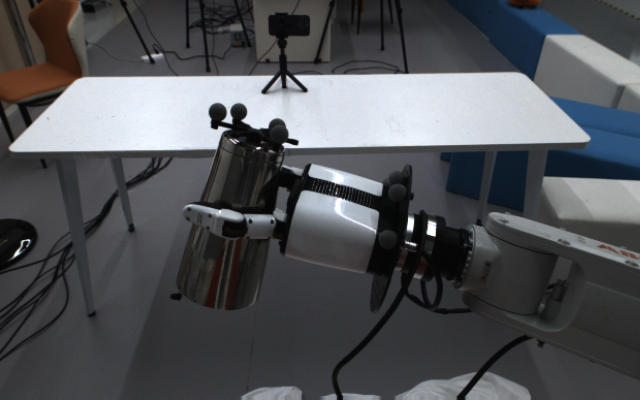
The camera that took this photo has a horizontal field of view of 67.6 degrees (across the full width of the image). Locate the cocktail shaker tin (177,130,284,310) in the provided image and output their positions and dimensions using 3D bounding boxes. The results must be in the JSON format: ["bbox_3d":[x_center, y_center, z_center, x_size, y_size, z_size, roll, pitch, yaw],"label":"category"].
[{"bbox_3d":[-0.088,0.019,0.510,0.093,0.170,0.093,15,17,-5],"label":"cocktail shaker tin"}]
